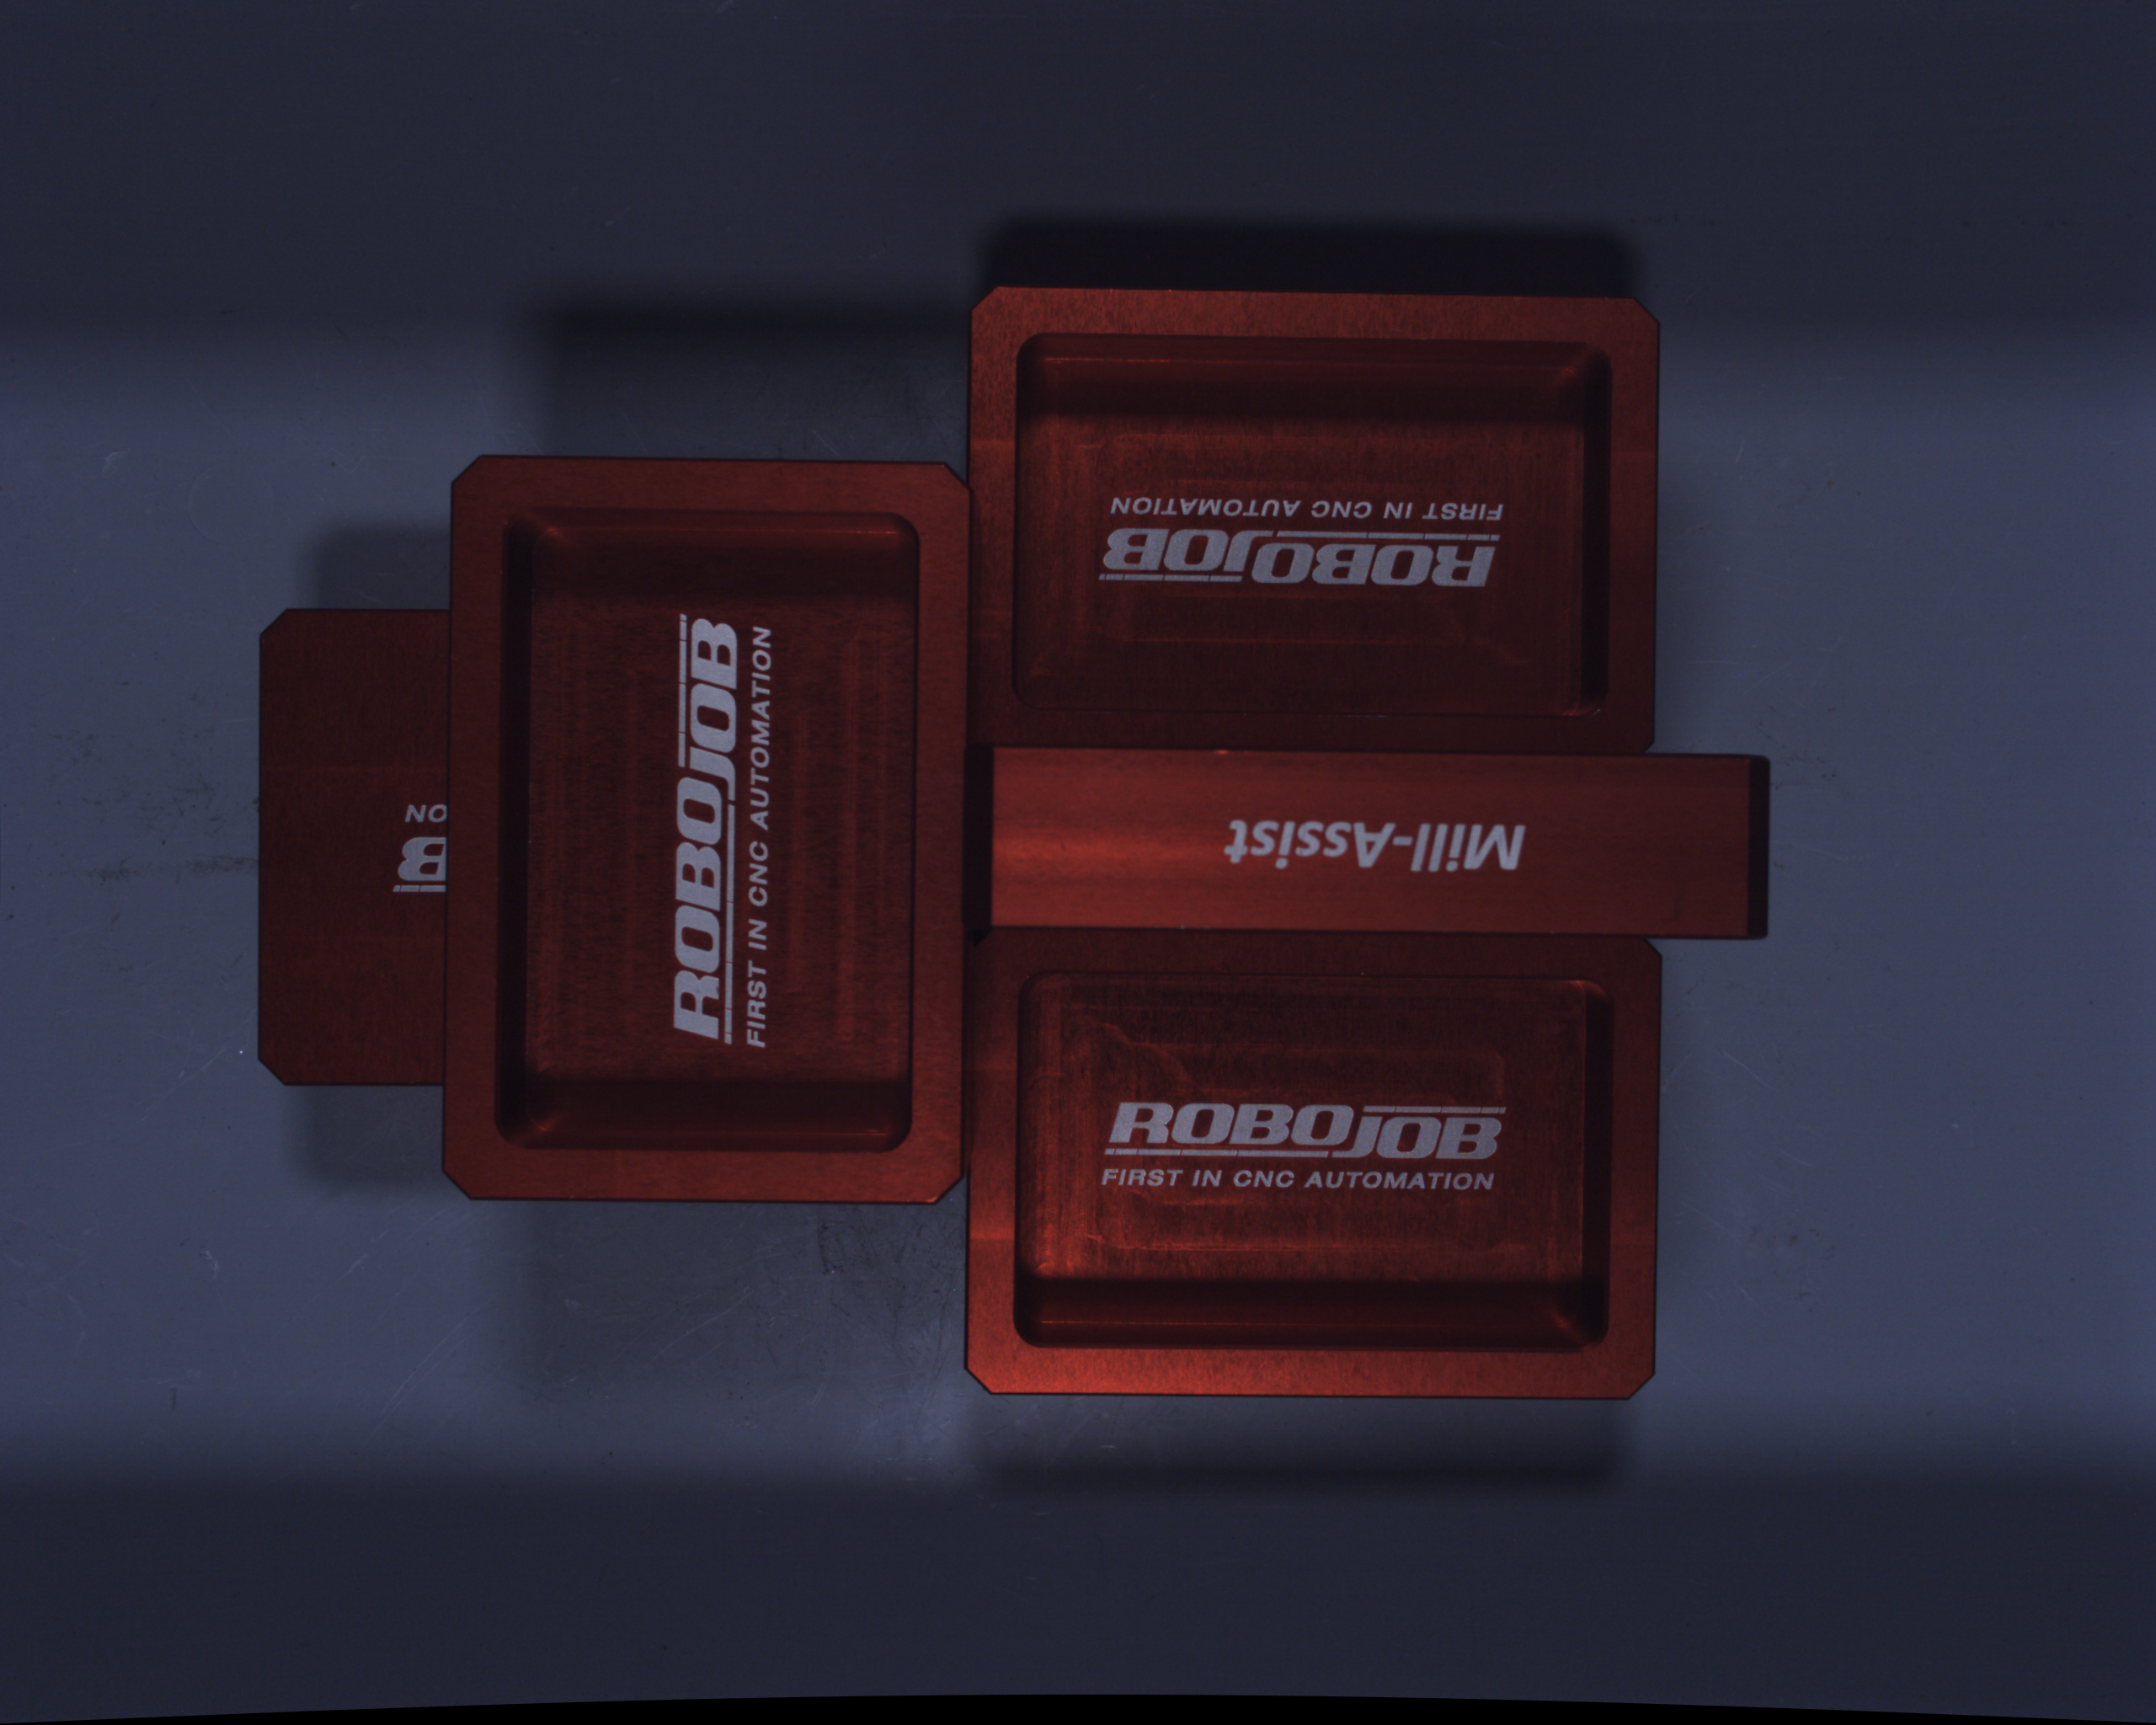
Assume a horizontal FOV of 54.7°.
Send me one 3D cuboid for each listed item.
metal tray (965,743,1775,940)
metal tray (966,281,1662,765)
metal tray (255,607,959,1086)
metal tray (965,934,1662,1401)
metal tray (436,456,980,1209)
[{"bbox_3d":[0.047,-0.004,0.377,0.131,0.090,0.030,1,90,-1],"label":"metal tray"},{"bbox_3d":[0.045,-0.064,0.408,0.131,0.030,0.089,1,90,-1],"label":"metal tray"},{"bbox_3d":[-0.088,-0.003,0.405,0.131,0.030,0.089,0,90,-1],"label":"metal tray"},{"bbox_3d":[0.045,0.056,0.408,0.131,0.030,0.089,1,90,-1],"label":"metal tray"},{"bbox_3d":[-0.065,-0.005,0.376,0.091,0.030,0.129,1,90,-1],"label":"metal tray"}]
